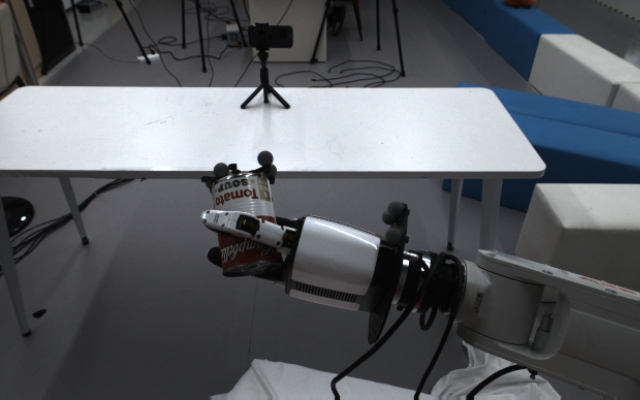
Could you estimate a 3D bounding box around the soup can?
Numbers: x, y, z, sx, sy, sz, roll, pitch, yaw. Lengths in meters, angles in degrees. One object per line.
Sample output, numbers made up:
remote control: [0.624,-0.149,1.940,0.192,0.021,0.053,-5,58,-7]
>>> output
soup can: [-0.079,0.029,0.540,0.067,0.067,0.101,-8,74,-14]
